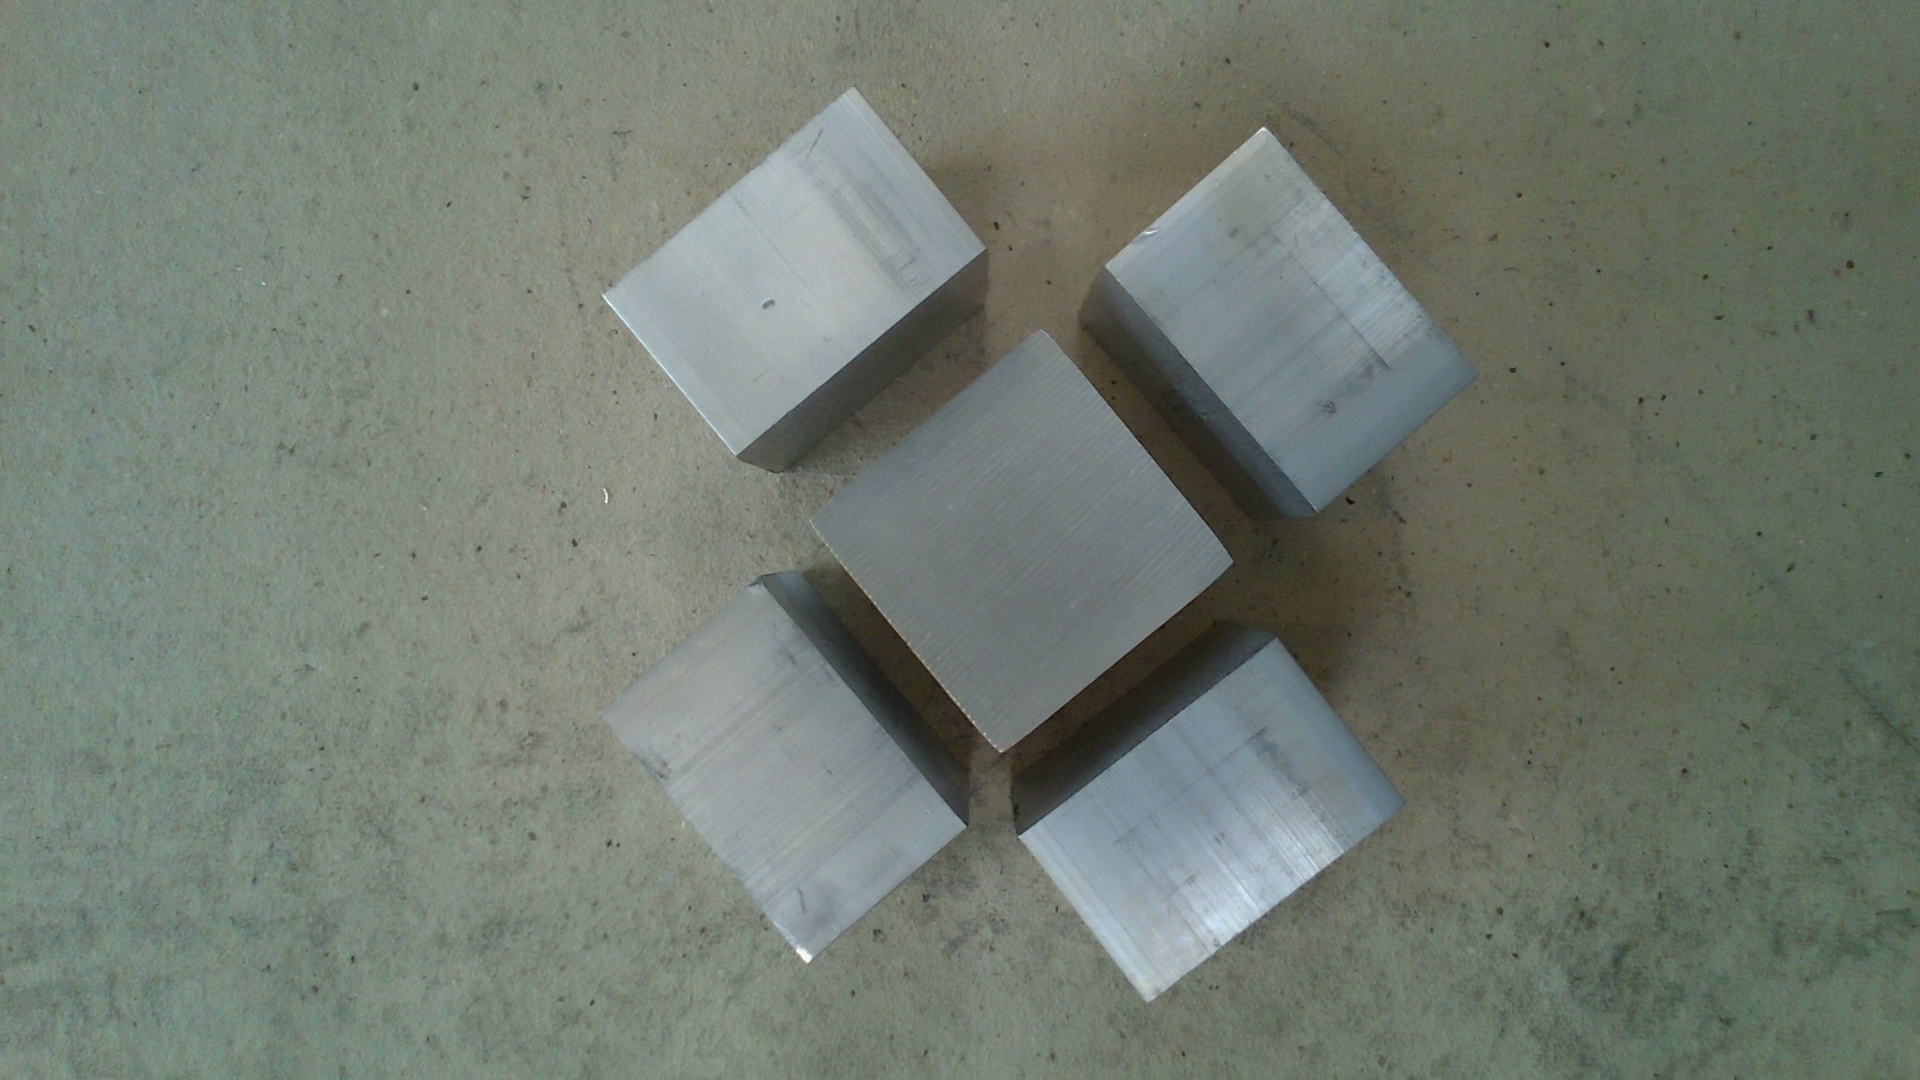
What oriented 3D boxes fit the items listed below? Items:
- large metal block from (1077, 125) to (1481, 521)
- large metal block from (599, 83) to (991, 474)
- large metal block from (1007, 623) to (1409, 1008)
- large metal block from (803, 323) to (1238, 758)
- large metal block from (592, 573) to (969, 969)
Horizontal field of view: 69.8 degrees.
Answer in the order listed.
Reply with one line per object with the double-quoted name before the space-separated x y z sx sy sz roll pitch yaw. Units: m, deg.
"large metal block" 0.079 -0.052 0.368 0.050 0.080 0.080 -41 90 0
"large metal block" -0.039 -0.064 0.368 0.080 0.080 0.050 -40 90 0
"large metal block" 0.061 0.068 0.368 0.080 0.080 0.050 -38 89 0
"large metal block" 0.016 0.000 0.381 0.080 0.050 0.080 -39 90 0
"large metal block" -0.043 0.056 0.368 0.050 0.080 0.080 -40 90 0
